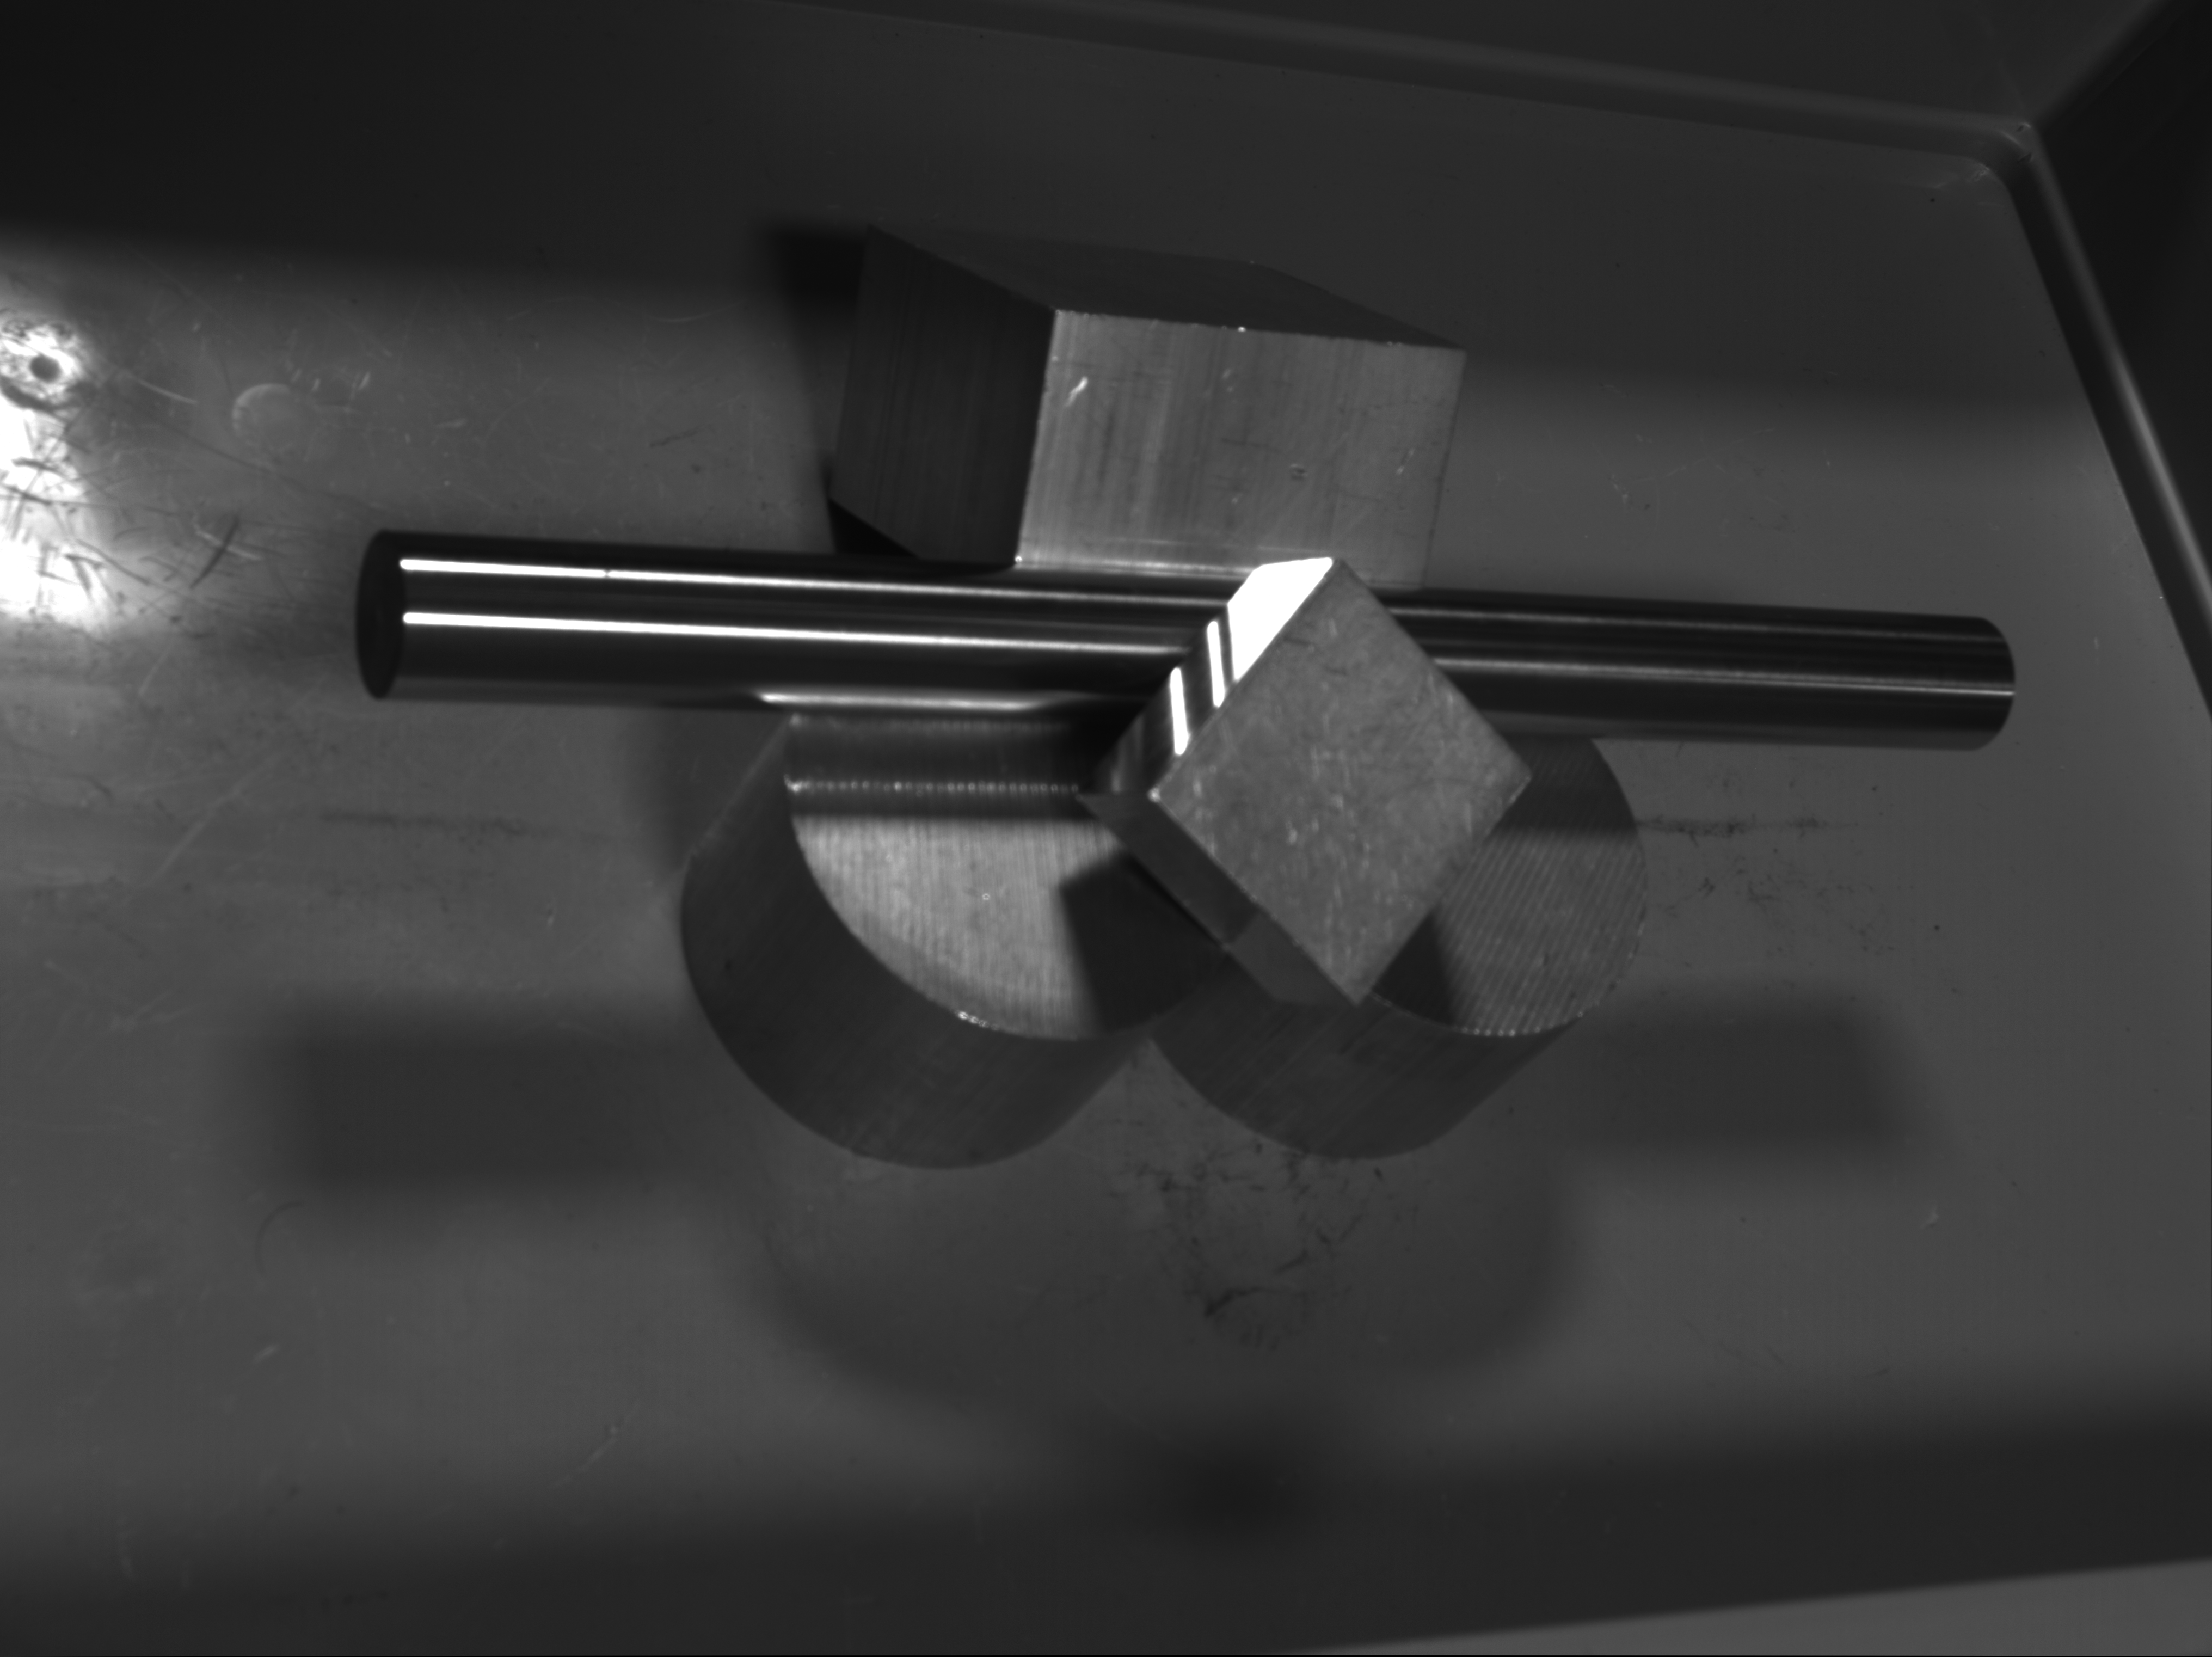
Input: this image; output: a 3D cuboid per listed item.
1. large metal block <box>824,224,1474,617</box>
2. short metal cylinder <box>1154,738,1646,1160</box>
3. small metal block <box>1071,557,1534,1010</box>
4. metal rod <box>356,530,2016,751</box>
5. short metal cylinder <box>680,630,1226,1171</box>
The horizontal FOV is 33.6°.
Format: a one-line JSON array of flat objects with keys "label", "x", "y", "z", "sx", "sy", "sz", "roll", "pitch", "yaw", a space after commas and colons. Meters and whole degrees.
[{"label": "large metal block", "x": 0.006, "y": -0.071, "z": 0.642, "sx": 0.080, "sy": 0.050, "sz": 0.080, "roll": 1, "pitch": 18, "yaw": -28}, {"label": "short metal cylinder", "x": 0.047, "y": 0.011, "z": 0.641, "sx": 0.080, "sy": 0.050, "sz": 0.080, "roll": 14, "pitch": 56, "yaw": -21}, {"label": "small metal block", "x": 0.032, "y": -0.007, "z": 0.582, "sx": 0.050, "sy": 0.025, "sz": 0.050, "roll": 45, "pitch": 71, "yaw": -21}, {"label": "metal rod", "x": 0.027, "y": -0.029, "z": 0.606, "sx": 0.301, "sy": 0.025, "sz": 0.025, "roll": 1, "pitch": 61, "yaw": -28}, {"label": "short metal cylinder", "x": -0.024, "y": 0.010, "z": 0.604, "sx": 0.080, "sy": 0.050, "sz": 0.080, "roll": 14, "pitch": 56, "yaw": -21}]
